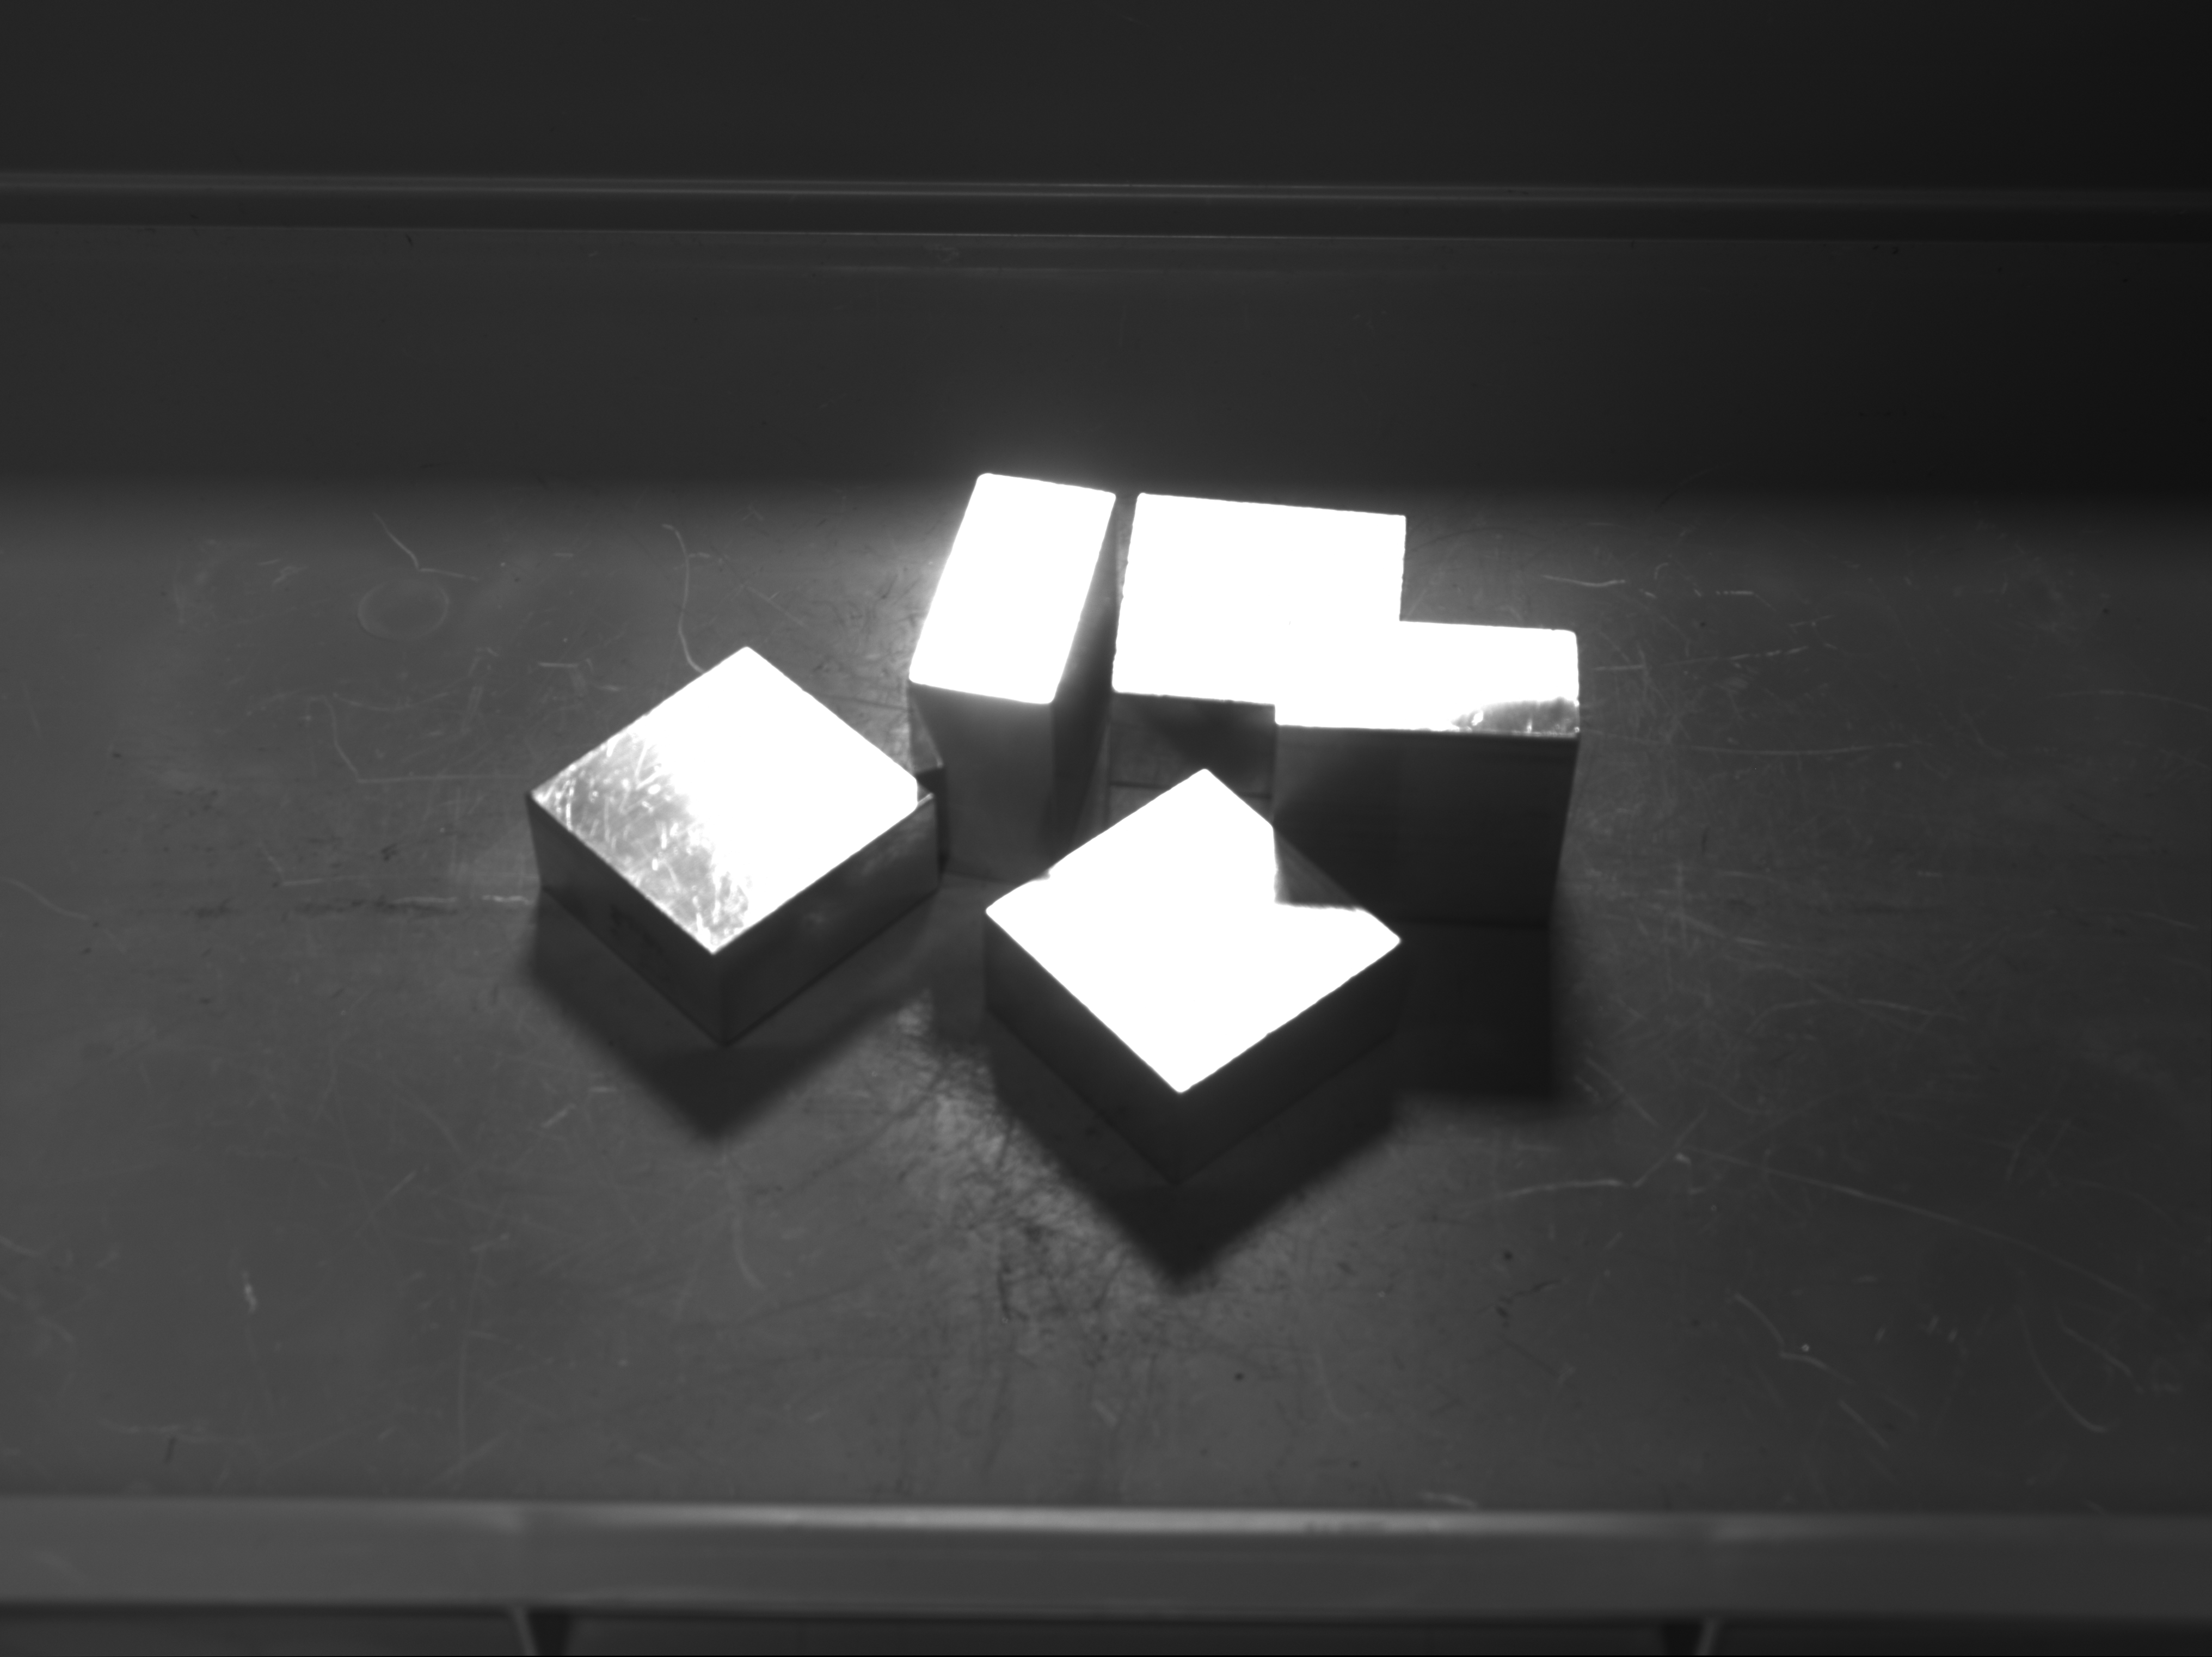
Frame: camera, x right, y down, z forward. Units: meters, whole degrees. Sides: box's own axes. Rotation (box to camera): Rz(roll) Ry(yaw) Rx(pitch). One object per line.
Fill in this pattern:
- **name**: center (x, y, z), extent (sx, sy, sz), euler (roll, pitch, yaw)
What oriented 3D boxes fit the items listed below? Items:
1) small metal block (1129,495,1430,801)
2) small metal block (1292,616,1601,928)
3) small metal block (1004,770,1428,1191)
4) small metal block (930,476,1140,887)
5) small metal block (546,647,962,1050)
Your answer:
- **small metal block**: center (0.032, -0.032, 0.668), extent (0.050, 0.025, 0.050), euler (5, 50, 4)
- **small metal block**: center (0.057, -0.009, 0.631), extent (0.050, 0.050, 0.025), euler (2, 50, 2)
- **small metal block**: center (0.018, 0.025, 0.619), extent (0.050, 0.025, 0.050), euler (-33, 57, -25)
- **small metal block**: center (-0.012, -0.025, 0.645), extent (0.025, 0.050, 0.050), euler (10, 51, 8)
- **small metal block**: center (-0.061, 0.003, 0.638), extent (0.050, 0.025, 0.050), euler (-37, 59, -27)
